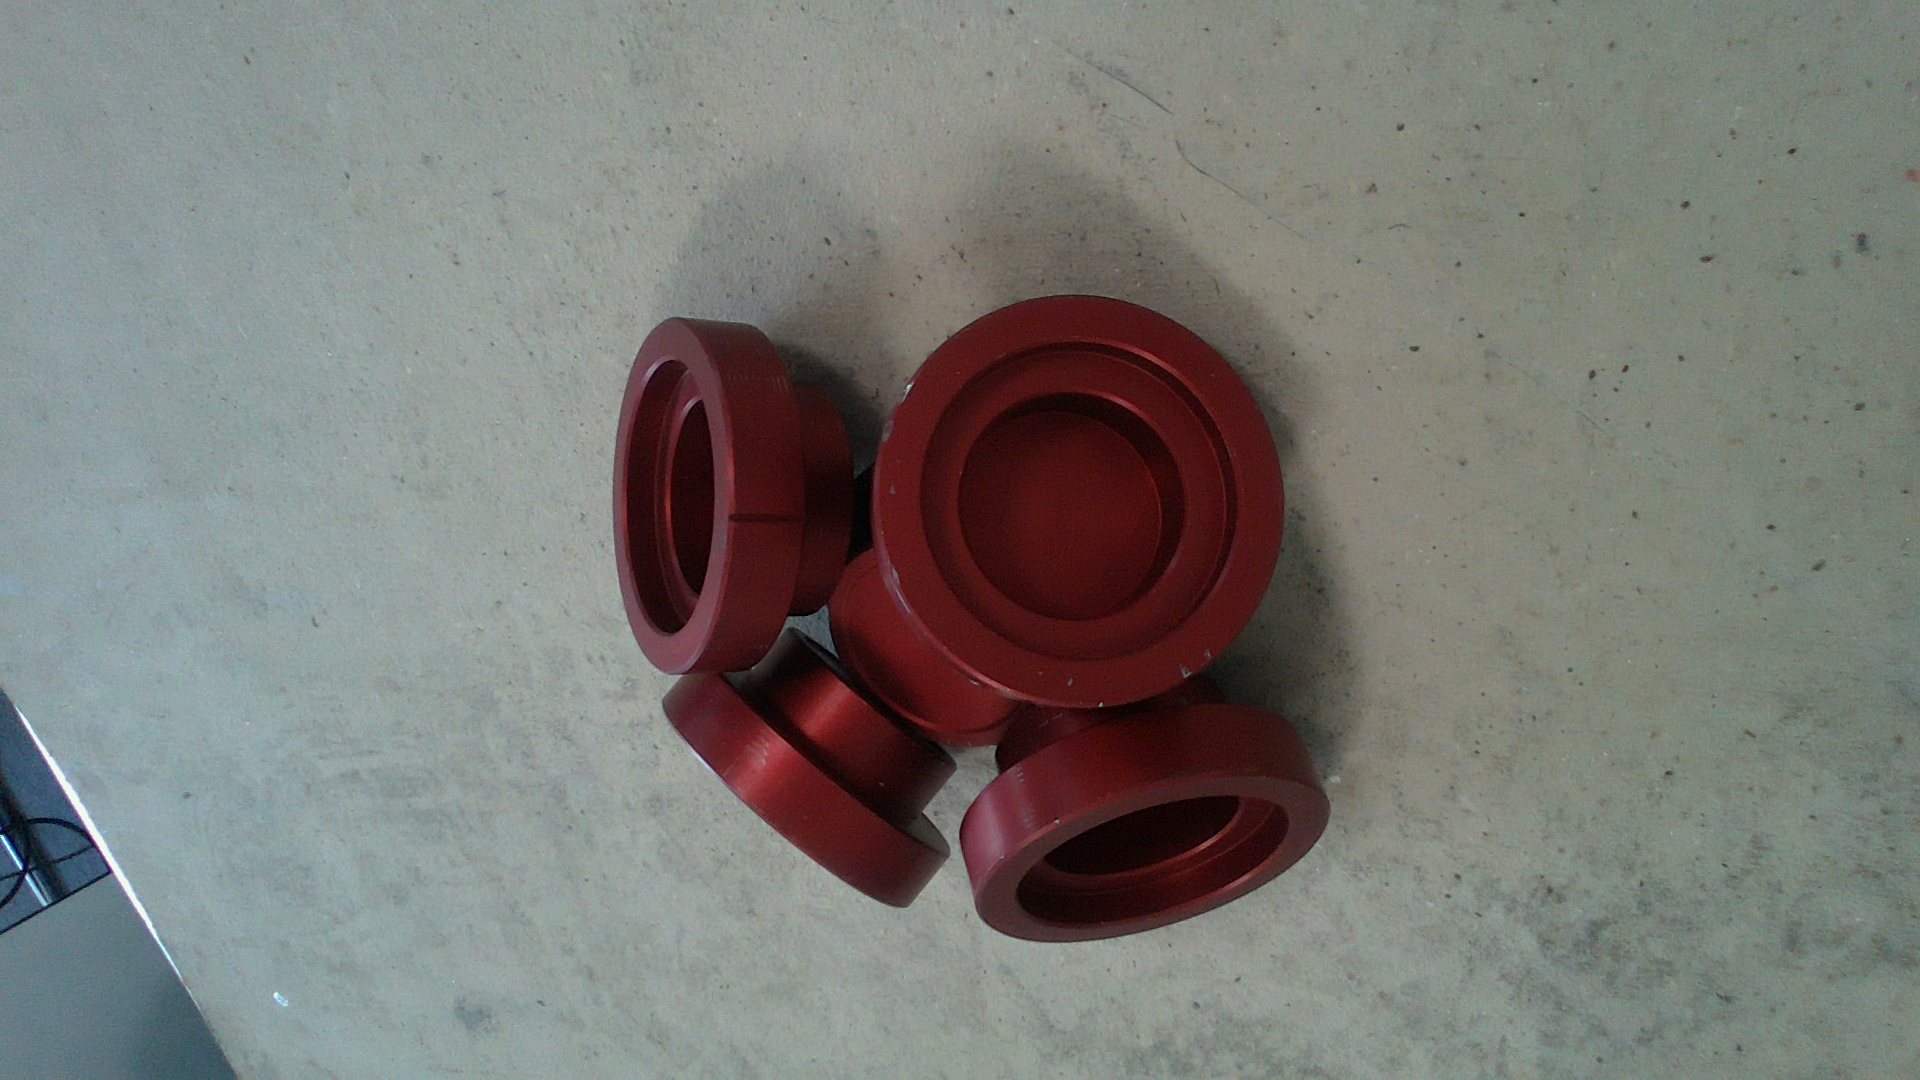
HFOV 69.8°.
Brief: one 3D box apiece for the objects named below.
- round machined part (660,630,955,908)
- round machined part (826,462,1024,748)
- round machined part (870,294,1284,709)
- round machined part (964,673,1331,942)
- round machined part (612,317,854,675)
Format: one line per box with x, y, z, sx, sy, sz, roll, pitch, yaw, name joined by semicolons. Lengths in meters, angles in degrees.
-0.040;0.064;0.421;0.098;0.098;0.042;40;86;1;round machined part
0.001;0.020;0.393;0.098;0.042;0.098;12;122;21;round machined part
0.026;-0.007;0.341;0.098;0.098;0.042;42;170;-1;round machined part
0.048;0.071;0.379;0.098;0.042;0.098;-10;144;-7;round machined part
-0.063;-0.012;0.388;0.098;0.042;0.098;-1;89;59;round machined part
